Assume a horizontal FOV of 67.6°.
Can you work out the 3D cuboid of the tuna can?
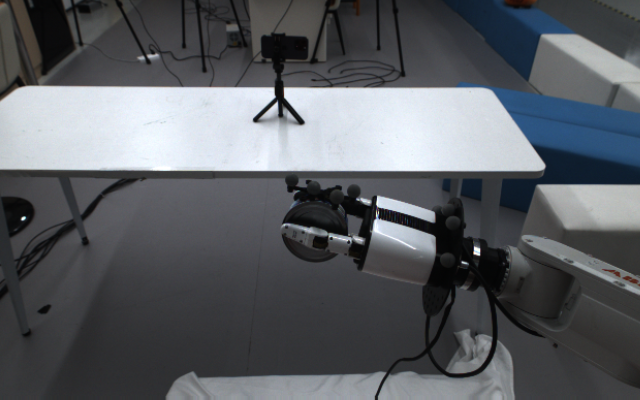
[{"bbox_3d":[-0.004,0.035,0.631,0.085,0.085,0.034,5,18,4],"label":"tuna can"}]
